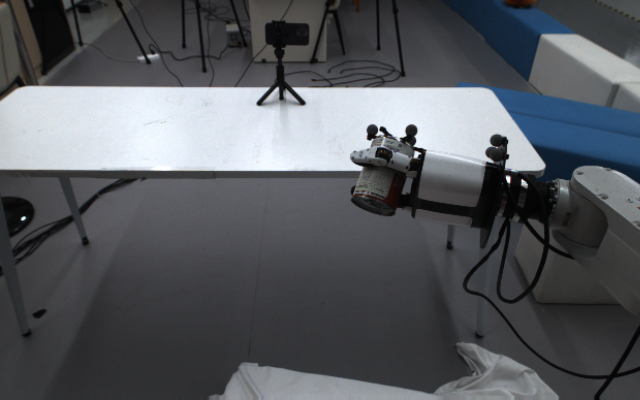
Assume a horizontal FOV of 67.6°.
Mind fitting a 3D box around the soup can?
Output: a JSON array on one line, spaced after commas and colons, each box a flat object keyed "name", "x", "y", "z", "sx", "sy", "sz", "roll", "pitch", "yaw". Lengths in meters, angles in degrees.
[{"name": "soup can", "x": 0.093, "y": -0.037, "z": 0.713, "sx": 0.067, "sy": 0.067, "sz": 0.101, "roll": 16, "pitch": 74, "yaw": 19}]
